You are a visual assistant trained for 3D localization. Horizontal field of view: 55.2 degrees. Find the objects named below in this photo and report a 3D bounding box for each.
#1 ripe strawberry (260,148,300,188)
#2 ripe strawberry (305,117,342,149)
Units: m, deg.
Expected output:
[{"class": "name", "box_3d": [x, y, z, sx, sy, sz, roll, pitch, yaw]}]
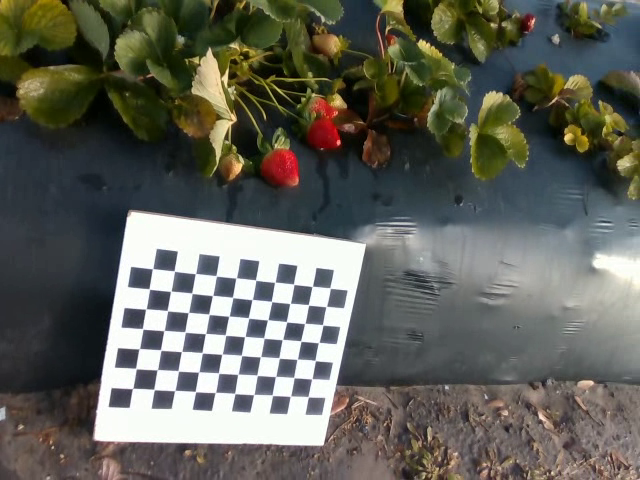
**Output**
[{"class": "ripe strawberry", "box_3d": [-0.046, -0.086, 0.752, 0.050, 0.065, 0.050, -31, -38, -6]}, {"class": "ripe strawberry", "box_3d": [0.006, -0.135, 0.799, 0.055, 0.045, 0.041, 36, 1, 32]}]
